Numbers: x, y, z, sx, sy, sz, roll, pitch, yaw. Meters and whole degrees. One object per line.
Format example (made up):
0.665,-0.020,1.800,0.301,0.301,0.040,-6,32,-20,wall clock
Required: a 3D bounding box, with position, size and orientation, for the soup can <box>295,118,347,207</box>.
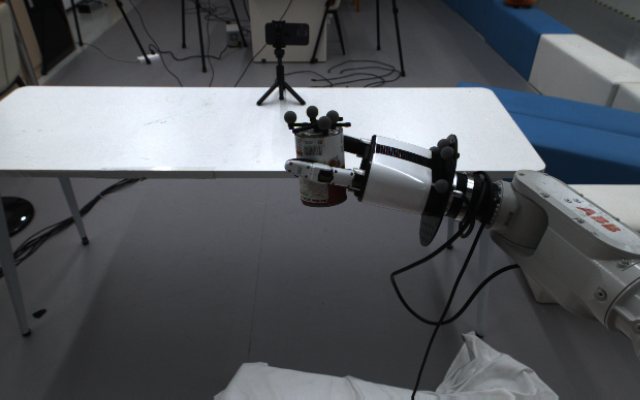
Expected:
0.002,-0.049,0.670,0.067,0.101,0.067,-4,21,1,soup can
